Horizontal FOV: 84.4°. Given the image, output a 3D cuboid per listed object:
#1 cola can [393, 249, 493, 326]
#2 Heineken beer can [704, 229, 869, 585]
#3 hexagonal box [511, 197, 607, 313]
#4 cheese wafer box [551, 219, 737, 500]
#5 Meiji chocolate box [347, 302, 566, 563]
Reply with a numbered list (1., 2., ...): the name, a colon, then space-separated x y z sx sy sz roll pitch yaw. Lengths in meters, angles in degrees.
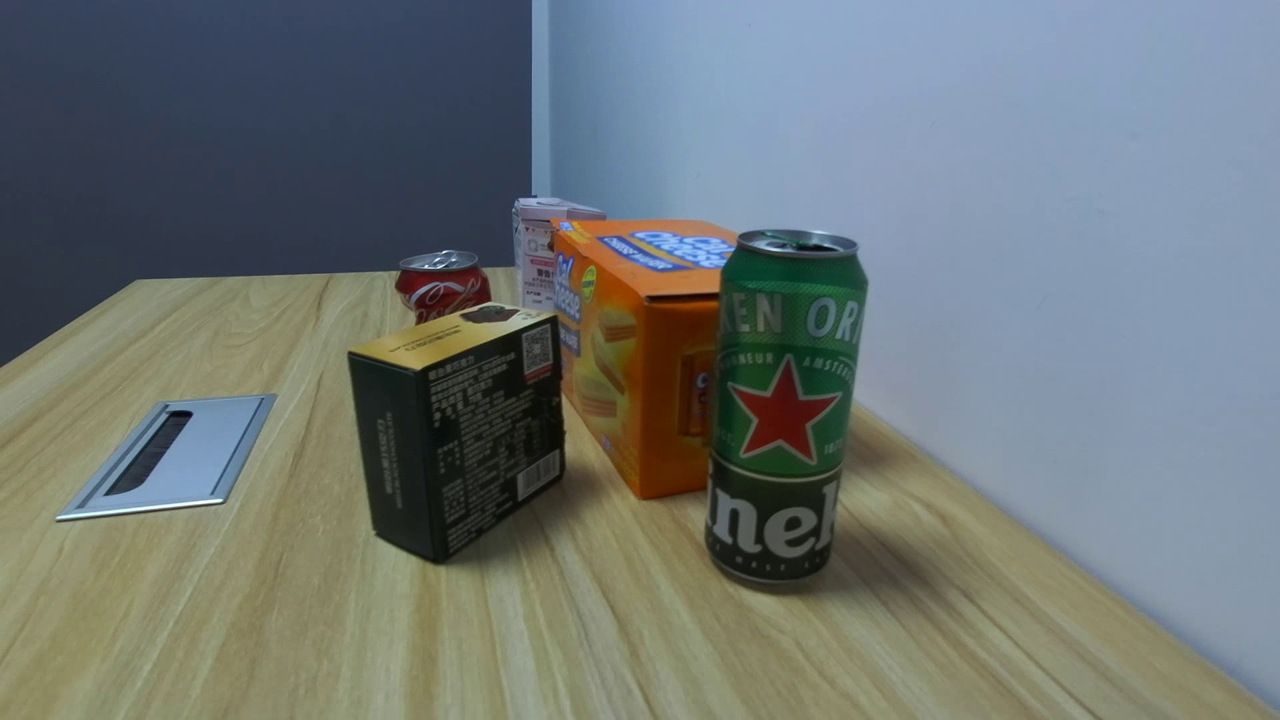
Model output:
1. cola can: -0.144 -0.022 0.530 0.066 0.117 0.066 -12 24 -27
2. Heineken beer can: 0.068 0.026 0.346 0.067 0.169 0.067 1 19 0
3. hexagonal box: -0.074 -0.078 0.657 0.092 0.135 0.085 8 20 18
4. cheese wafer box: 0.033 -0.021 0.514 0.150 0.137 0.226 -7 23 -17
5. Meiji chocolate box: -0.096 0.035 0.397 0.056 0.109 0.110 12 23 29
